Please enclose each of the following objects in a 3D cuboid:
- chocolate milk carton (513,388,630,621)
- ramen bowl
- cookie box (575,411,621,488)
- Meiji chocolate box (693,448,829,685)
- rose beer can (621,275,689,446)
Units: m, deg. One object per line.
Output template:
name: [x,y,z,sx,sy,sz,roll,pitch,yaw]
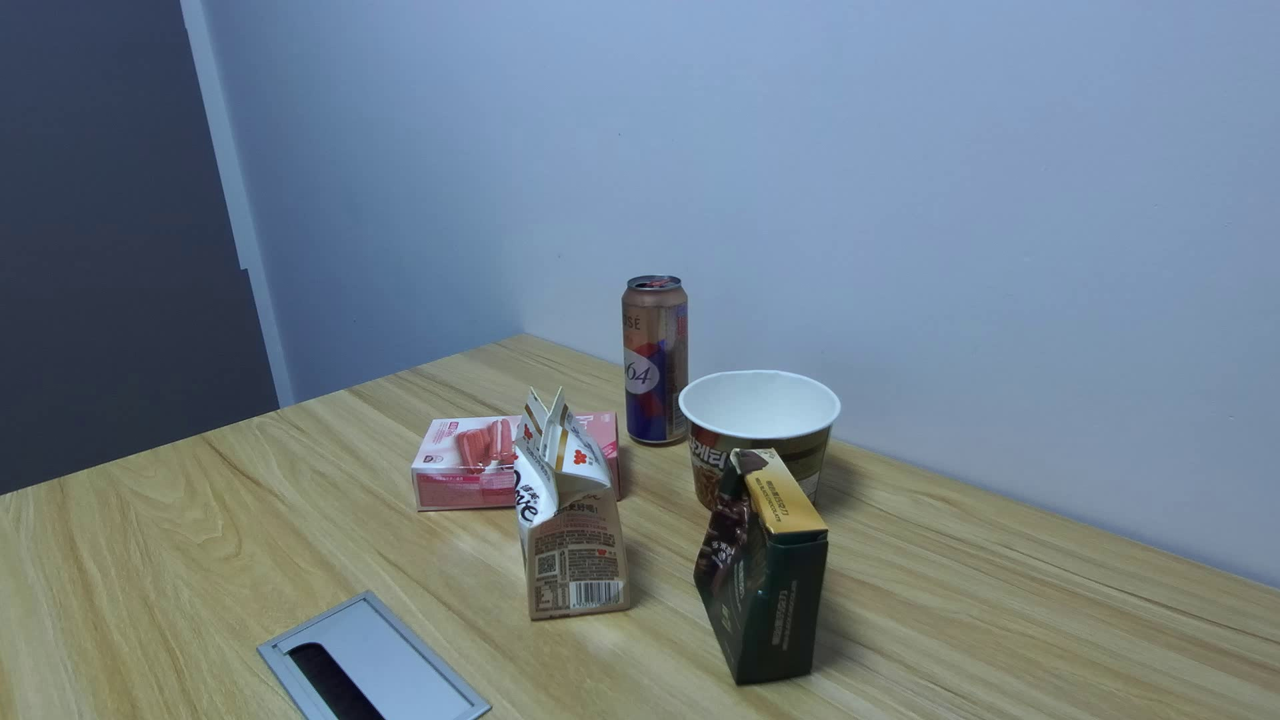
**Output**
chocolate milk carton: [-0.052,0.098,0.505,0.074,0.155,0.076,-6,22,-6]
ramen bowl: [0.104,0.077,0.631,0.140,0.095,0.140,-2,21,1]
cookie box: [-0.114,0.096,0.670,0.187,0.049,0.105,-3,21,-1]
Meiji chocolate box: [0.080,0.131,0.467,0.052,0.117,0.117,1,21,-12]
rose beer can: [0.017,0.002,0.731,0.068,0.169,0.068,-1,20,1]
